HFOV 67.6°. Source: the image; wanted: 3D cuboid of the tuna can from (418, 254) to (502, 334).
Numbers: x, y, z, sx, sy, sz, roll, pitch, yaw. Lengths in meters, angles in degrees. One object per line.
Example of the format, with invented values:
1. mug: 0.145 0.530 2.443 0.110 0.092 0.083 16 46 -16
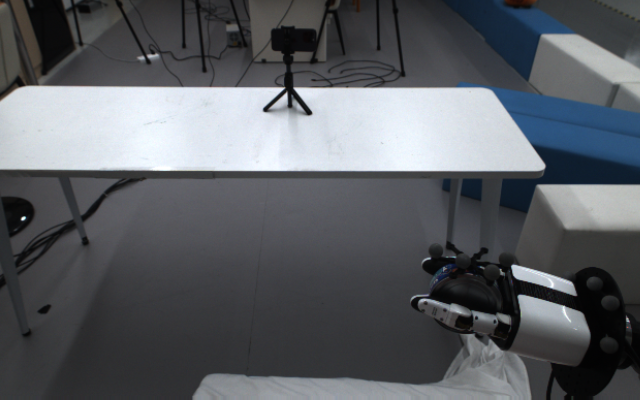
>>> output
1. tuna can: 0.178 0.117 0.591 0.085 0.085 0.034 9 22 10
